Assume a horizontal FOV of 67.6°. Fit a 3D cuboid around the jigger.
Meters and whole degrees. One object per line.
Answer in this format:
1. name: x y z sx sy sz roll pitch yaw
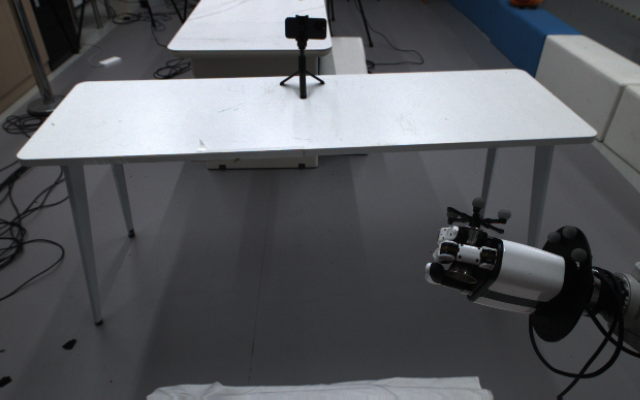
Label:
1. jigger: 0.203 0.072 0.662 0.043 0.043 0.071 15 70 18
